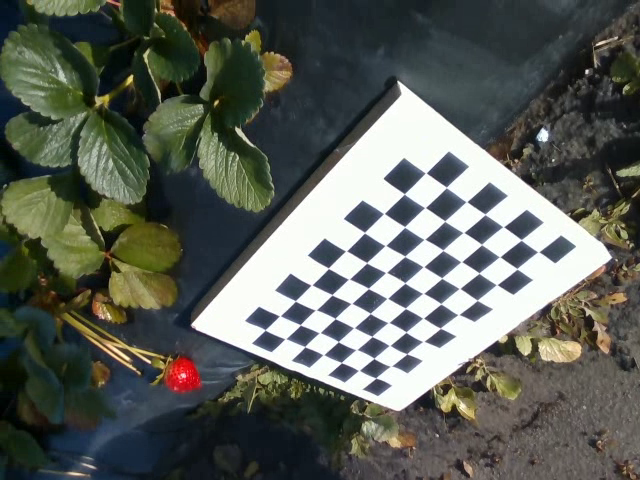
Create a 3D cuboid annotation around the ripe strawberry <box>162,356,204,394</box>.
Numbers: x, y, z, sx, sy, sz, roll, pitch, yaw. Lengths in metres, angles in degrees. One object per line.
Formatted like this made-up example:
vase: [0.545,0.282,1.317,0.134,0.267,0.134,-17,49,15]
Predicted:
ripe strawberry: [-0.131,0.132,0.585,0.044,0.040,0.037,20,37,-7]
